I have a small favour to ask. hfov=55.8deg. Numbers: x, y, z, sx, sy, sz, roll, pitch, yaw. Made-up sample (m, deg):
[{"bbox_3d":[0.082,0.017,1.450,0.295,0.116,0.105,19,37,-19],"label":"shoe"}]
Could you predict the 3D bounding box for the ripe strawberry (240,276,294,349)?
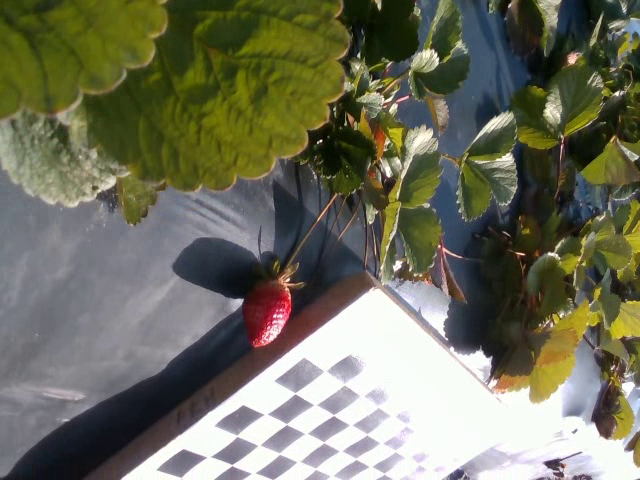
[{"bbox_3d":[-0.028,0.038,0.293,0.033,0.038,0.034,-8,-33,34],"label":"ripe strawberry"}]
